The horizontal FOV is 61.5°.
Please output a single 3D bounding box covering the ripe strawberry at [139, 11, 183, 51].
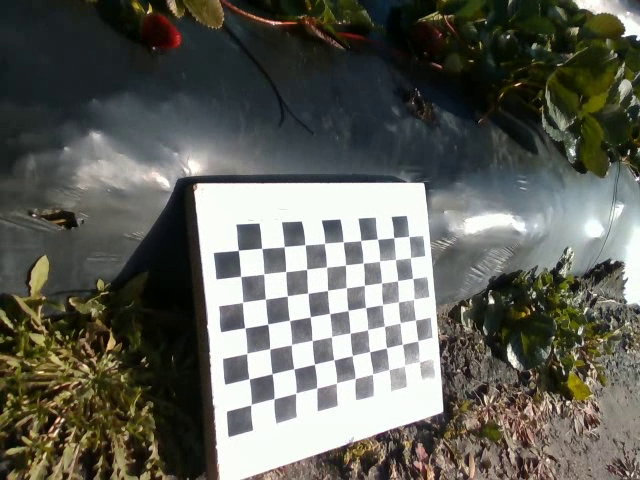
[{"bbox_3d":[-0.114,-0.154,0.398,0.028,0.031,0.041,-34,49,-31],"label":"ripe strawberry"}]
